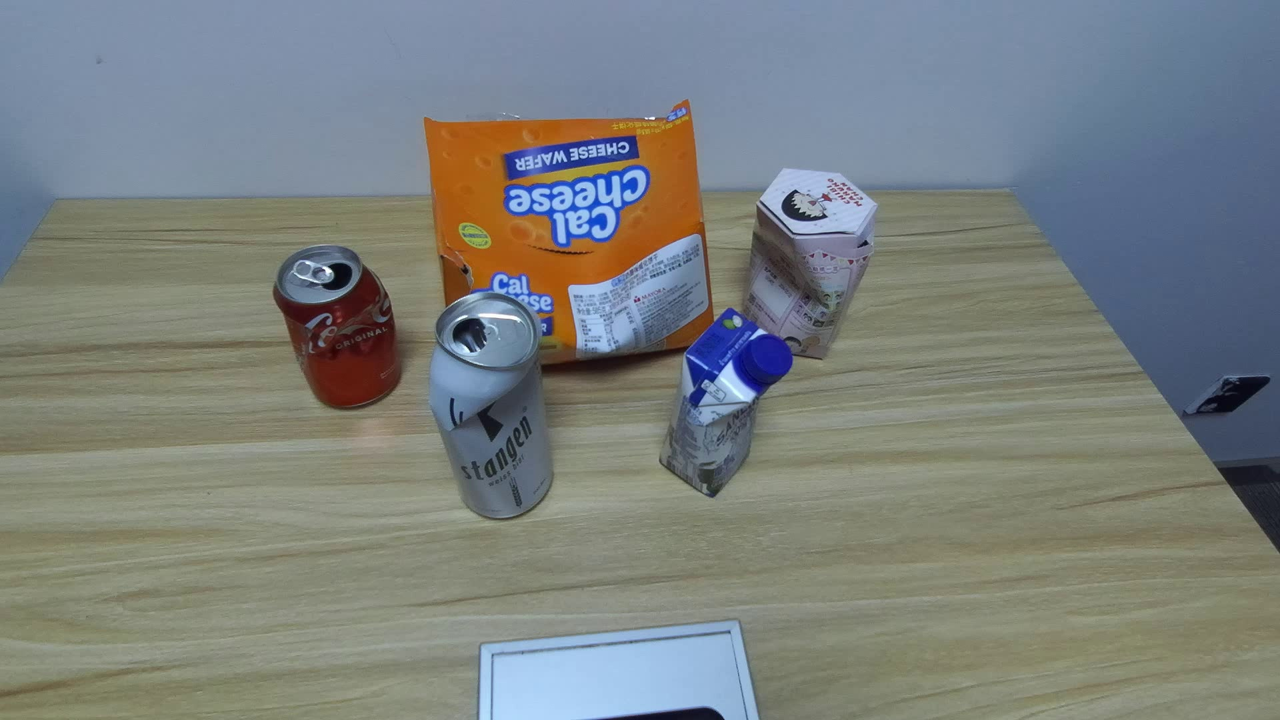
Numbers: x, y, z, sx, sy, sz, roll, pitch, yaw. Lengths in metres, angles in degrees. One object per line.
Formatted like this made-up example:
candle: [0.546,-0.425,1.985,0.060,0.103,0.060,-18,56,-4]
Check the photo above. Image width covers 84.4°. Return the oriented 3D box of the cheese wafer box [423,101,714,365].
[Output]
cheese wafer box: [-0.049,-0.090,0.559,0.219,0.145,0.190,-6,50,-11]

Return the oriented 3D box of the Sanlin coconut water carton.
Sanlin coconut water carton: [0.055,0.029,0.468,0.057,0.142,0.078,34,55,16]

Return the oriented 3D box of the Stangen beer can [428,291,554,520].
Stangen beer can: [-0.090,0.034,0.439,0.066,0.162,0.077,-7,51,-11]

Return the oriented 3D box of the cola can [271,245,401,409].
cola can: [-0.219,-0.026,0.508,0.066,0.117,0.066,35,57,20]

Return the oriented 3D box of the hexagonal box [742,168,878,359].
hexagonal box: [0.130,-0.072,0.565,0.090,0.134,0.091,10,49,8]
